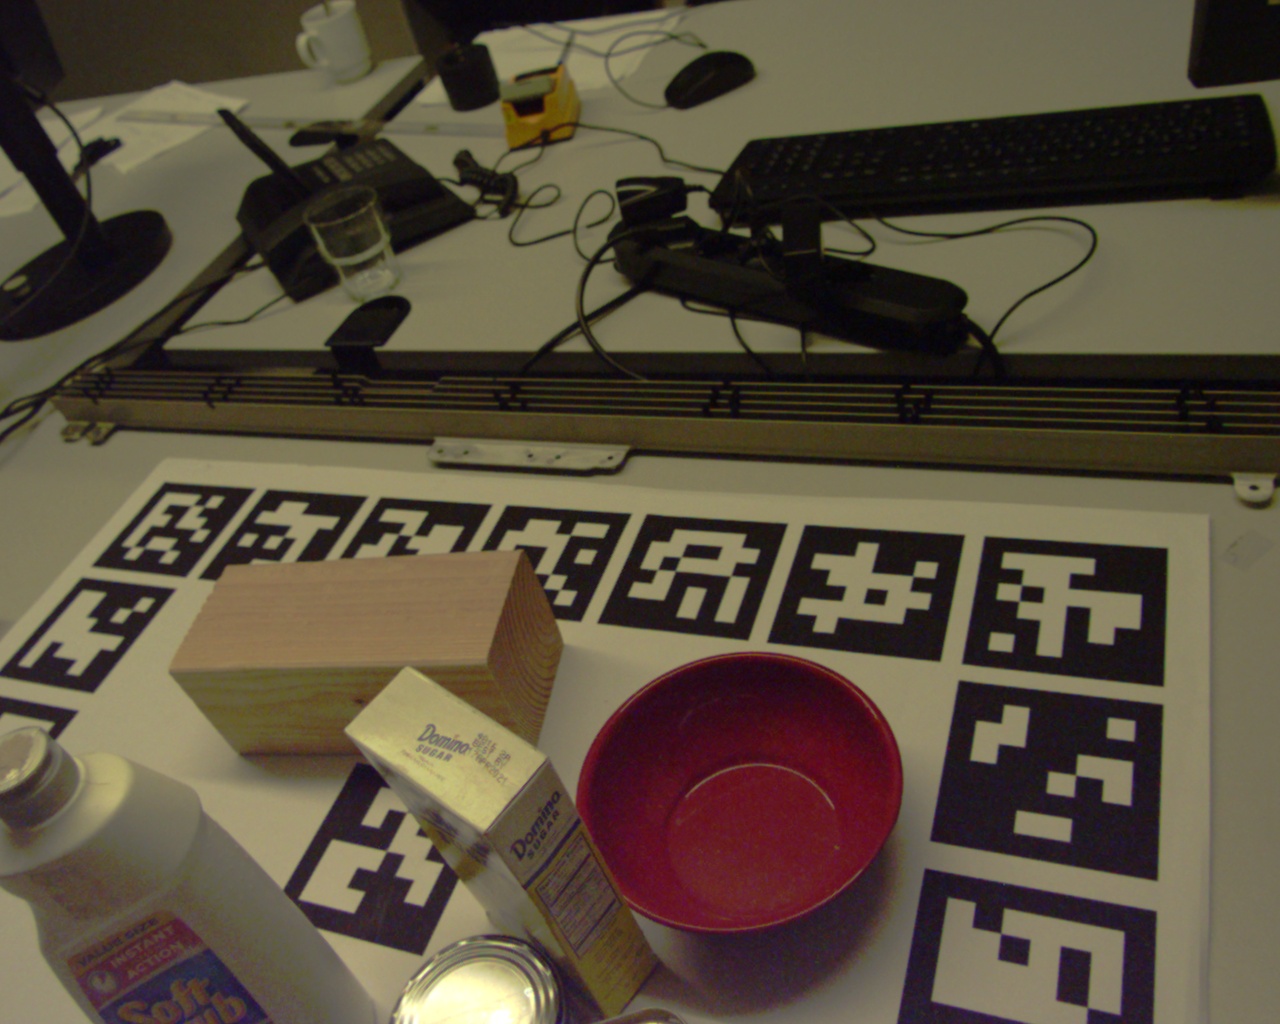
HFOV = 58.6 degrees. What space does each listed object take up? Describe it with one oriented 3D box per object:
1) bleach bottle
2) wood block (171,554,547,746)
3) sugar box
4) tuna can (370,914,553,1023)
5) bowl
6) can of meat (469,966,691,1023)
[{"bbox_3d":[-0.210,0.181,0.517,0.103,0.249,0.068,-15,39,5],"label":"bleach bottle"},{"bbox_3d":[-0.176,0.090,0.731,0.208,0.089,0.091,-3,47,16],"label":"wood block"},{"bbox_3d":[-0.062,0.153,0.543,0.094,0.175,0.045,20,55,40],"label":"sugar box"},{"bbox_3d":[-0.086,0.245,0.558,0.086,0.033,0.086,-12,44,11],"label":"tuna can"},{"bbox_3d":[0.051,0.145,0.604,0.162,0.055,0.162,-14,39,11],"label":"bowl"},{"bbox_3d":[-0.019,0.254,0.495,0.102,0.083,0.058,-17,37,0],"label":"can of meat"}]
